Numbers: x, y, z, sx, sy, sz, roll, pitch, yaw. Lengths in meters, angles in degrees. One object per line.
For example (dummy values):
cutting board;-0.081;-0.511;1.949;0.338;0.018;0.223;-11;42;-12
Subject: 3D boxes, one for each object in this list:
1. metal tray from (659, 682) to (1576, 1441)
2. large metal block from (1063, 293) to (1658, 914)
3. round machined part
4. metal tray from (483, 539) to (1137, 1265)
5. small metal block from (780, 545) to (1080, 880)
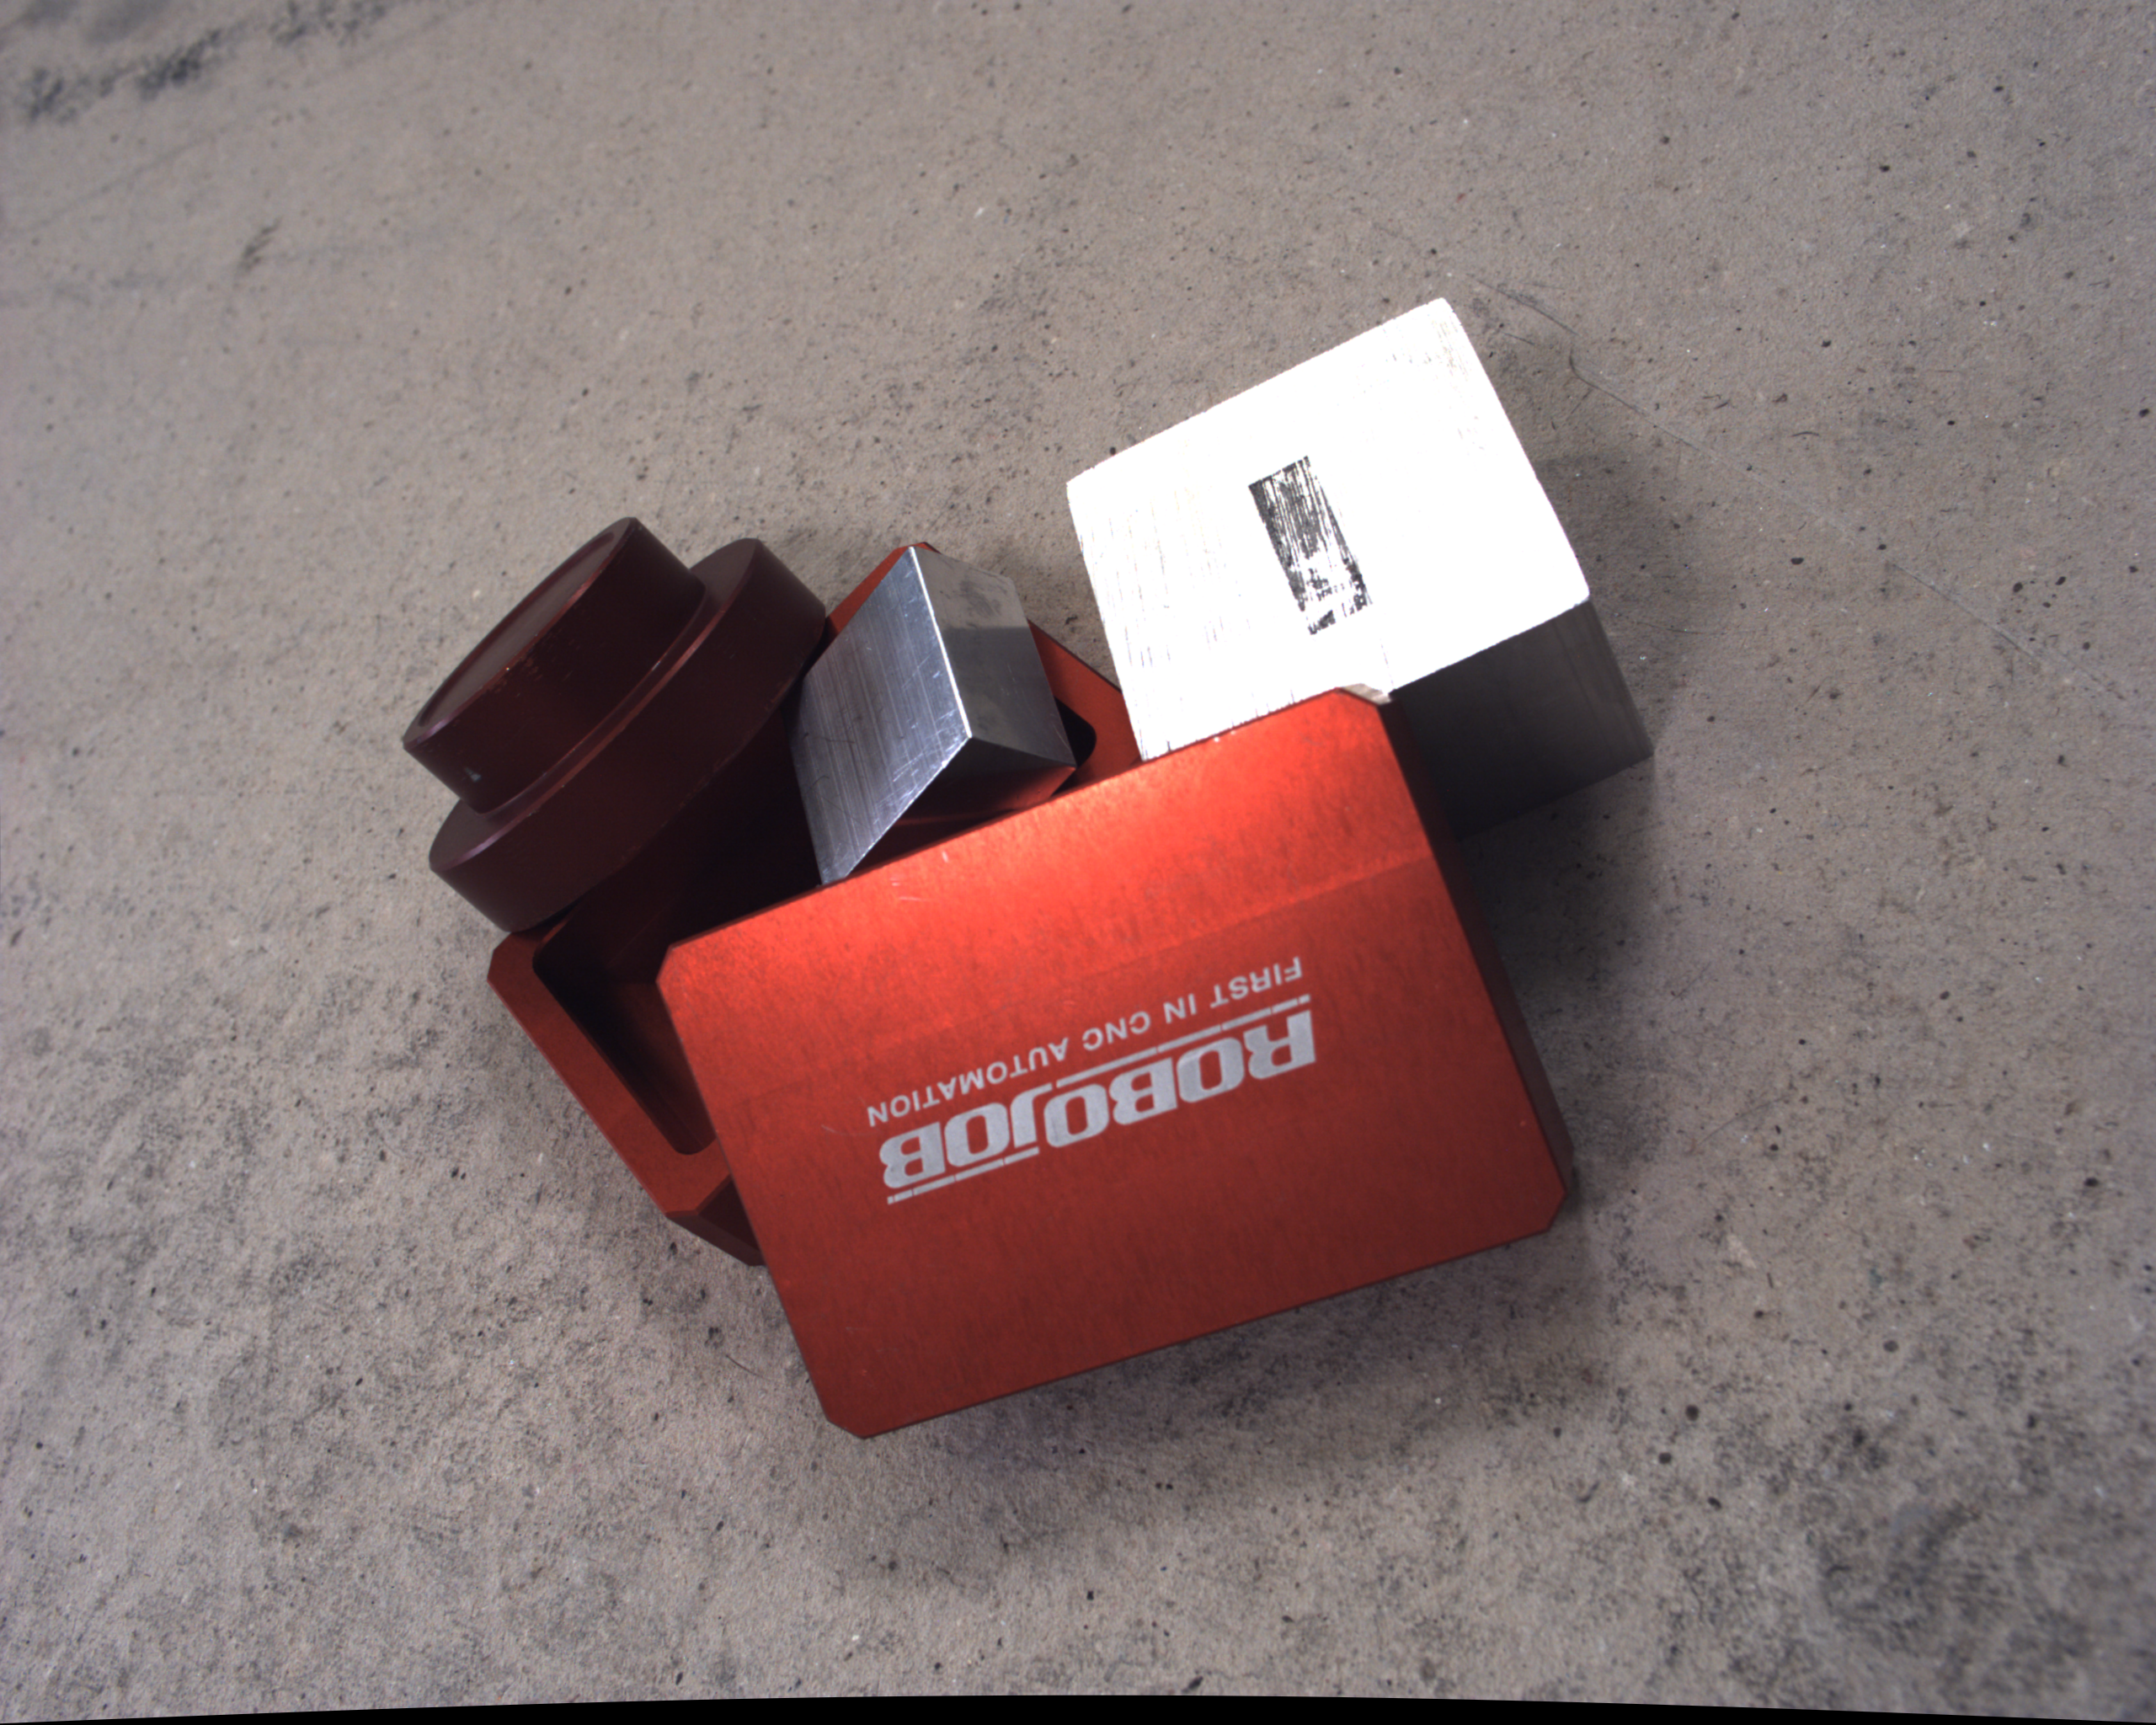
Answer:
metal tray;0.006;0.034;0.349;0.130;0.030;0.090;-21;90;16
large metal block;0.051;-0.047;0.392;0.080;0.050;0.080;-24;53;13
round machined part;-0.104;-0.035;0.444;0.098;0.042;0.098;-37;22;18
metal tray;-0.049;0.005;0.424;0.130;0.030;0.090;-46;51;-4
small metal block;-0.031;-0.024;0.407;0.050;0.025;0.050;-46;47;33
